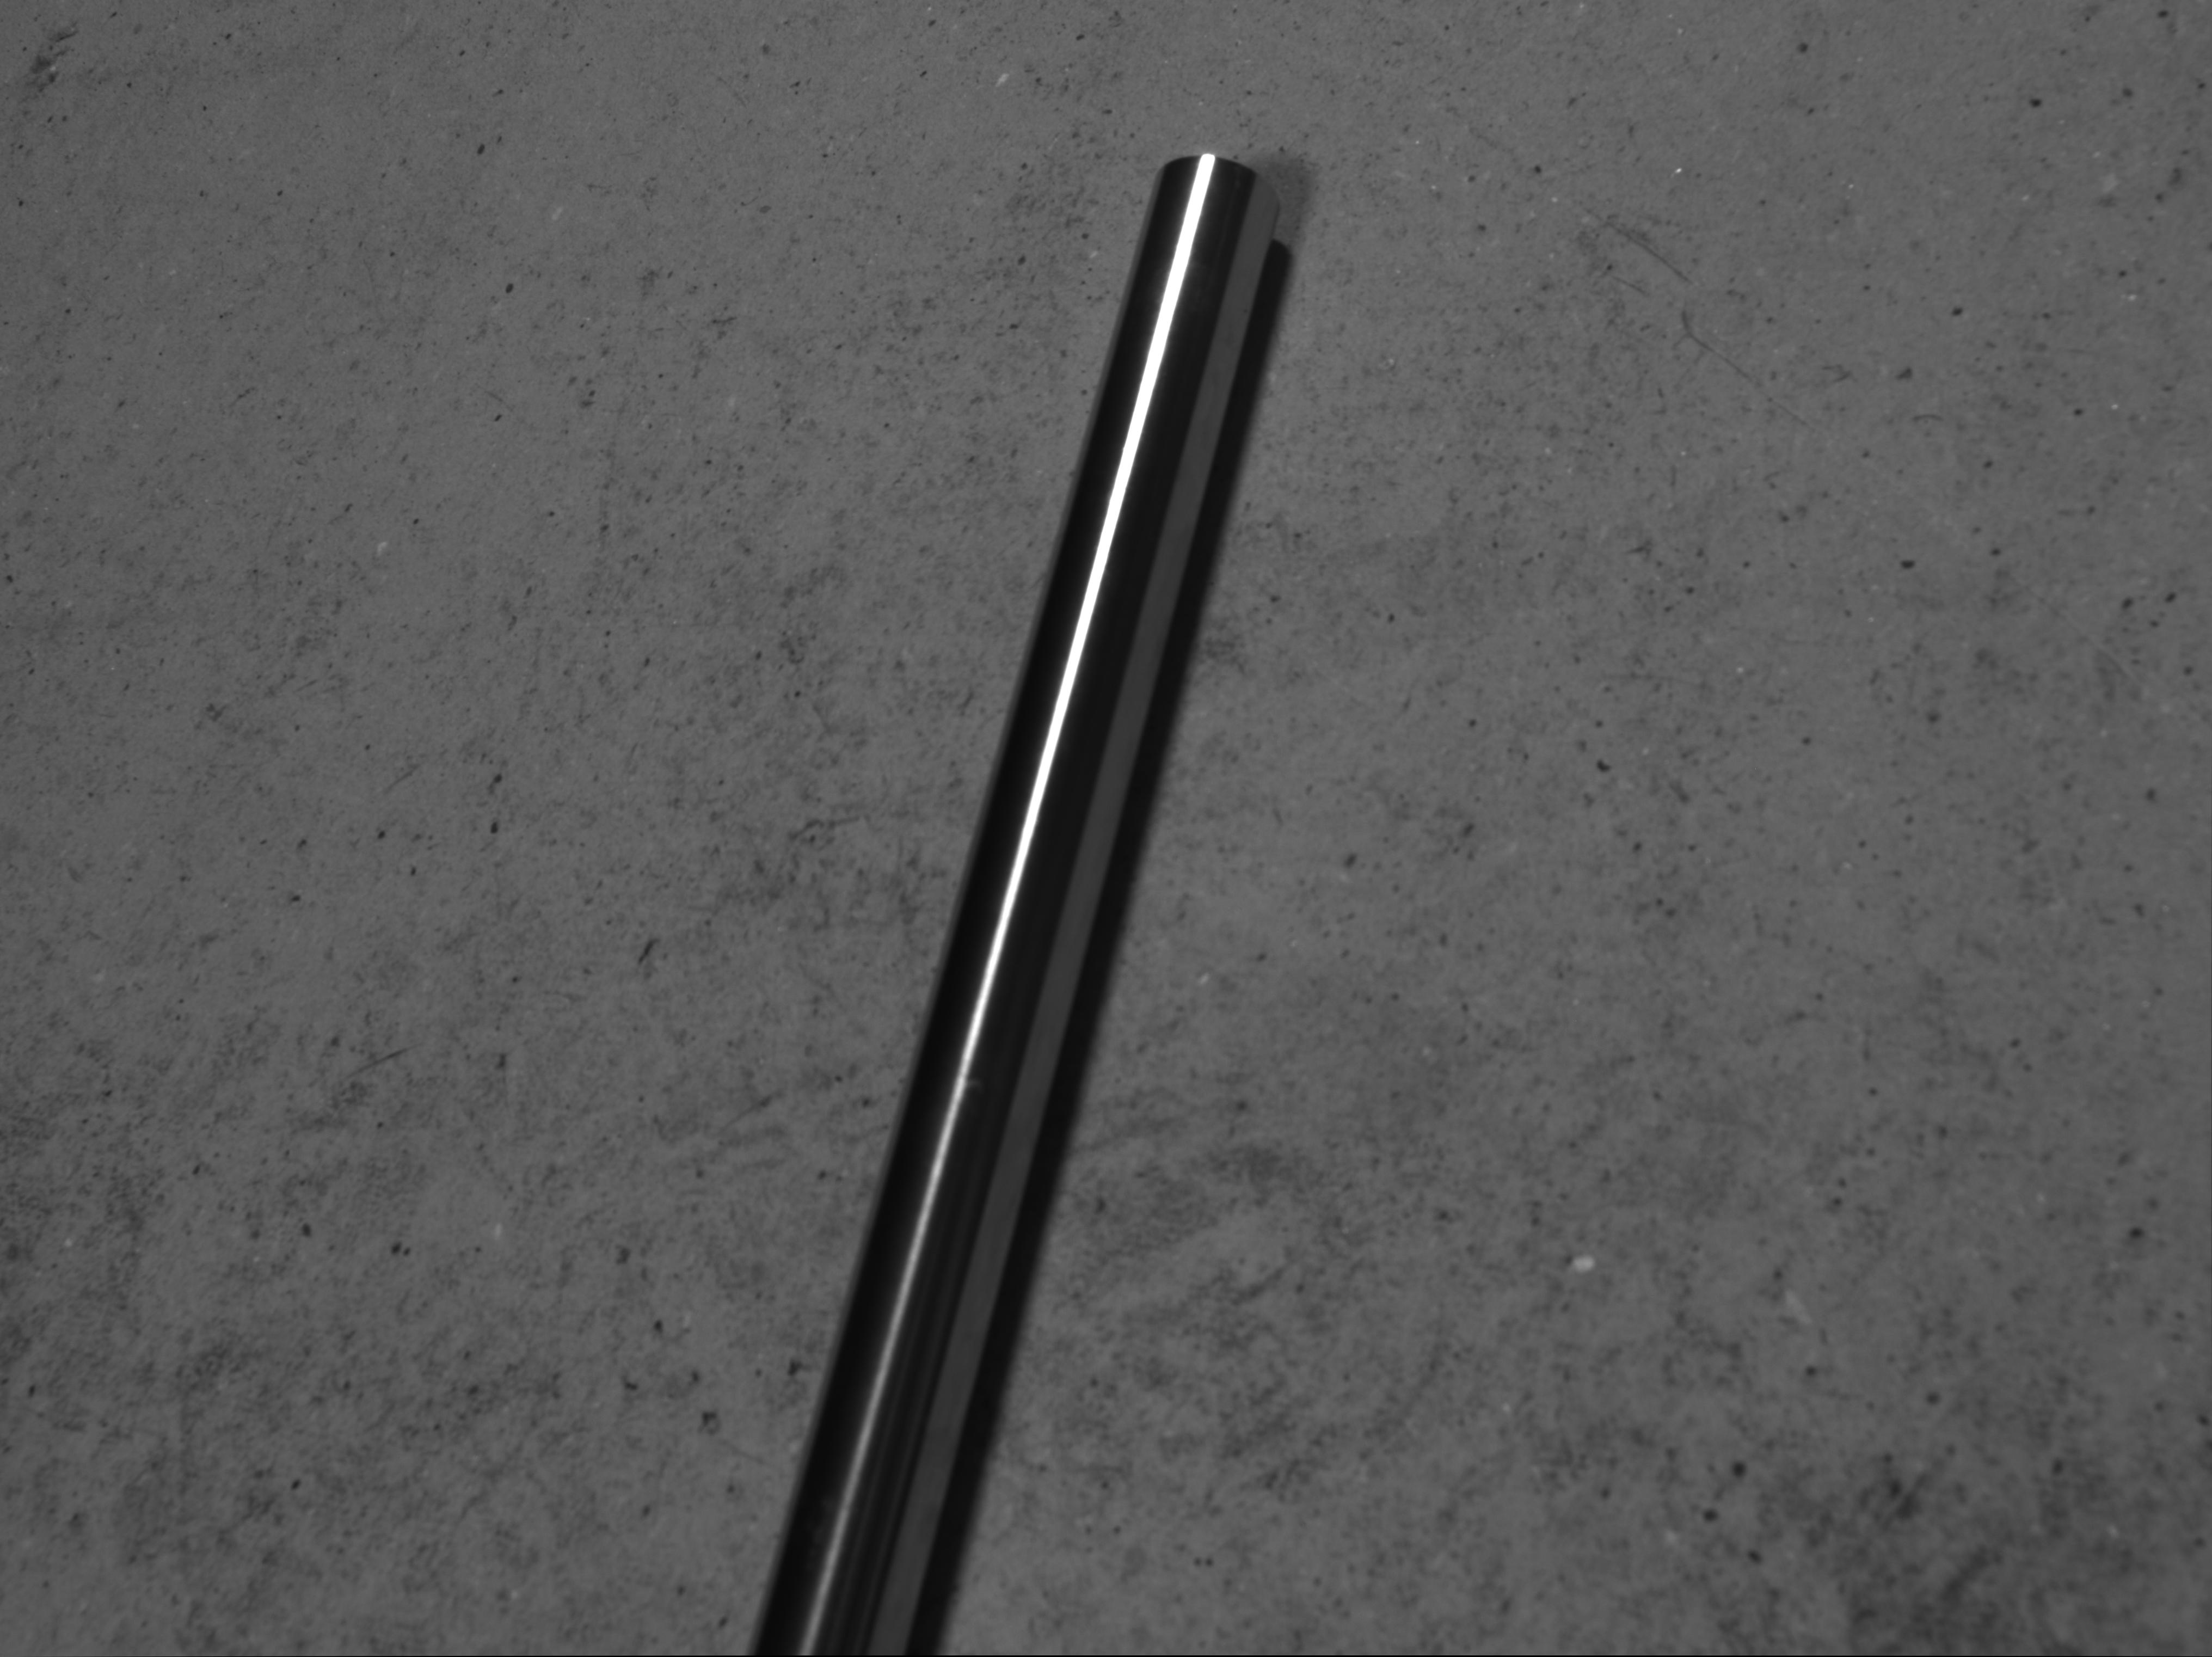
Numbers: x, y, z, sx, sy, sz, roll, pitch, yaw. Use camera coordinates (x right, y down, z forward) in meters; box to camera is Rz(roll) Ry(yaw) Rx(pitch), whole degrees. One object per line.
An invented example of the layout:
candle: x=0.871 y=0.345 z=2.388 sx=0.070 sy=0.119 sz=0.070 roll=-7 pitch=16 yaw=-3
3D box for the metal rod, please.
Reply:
metal rod: x=-0.011 y=0.010 z=0.644 sx=0.025 sy=0.025 sz=0.300 roll=0 pitch=62 yaw=29
